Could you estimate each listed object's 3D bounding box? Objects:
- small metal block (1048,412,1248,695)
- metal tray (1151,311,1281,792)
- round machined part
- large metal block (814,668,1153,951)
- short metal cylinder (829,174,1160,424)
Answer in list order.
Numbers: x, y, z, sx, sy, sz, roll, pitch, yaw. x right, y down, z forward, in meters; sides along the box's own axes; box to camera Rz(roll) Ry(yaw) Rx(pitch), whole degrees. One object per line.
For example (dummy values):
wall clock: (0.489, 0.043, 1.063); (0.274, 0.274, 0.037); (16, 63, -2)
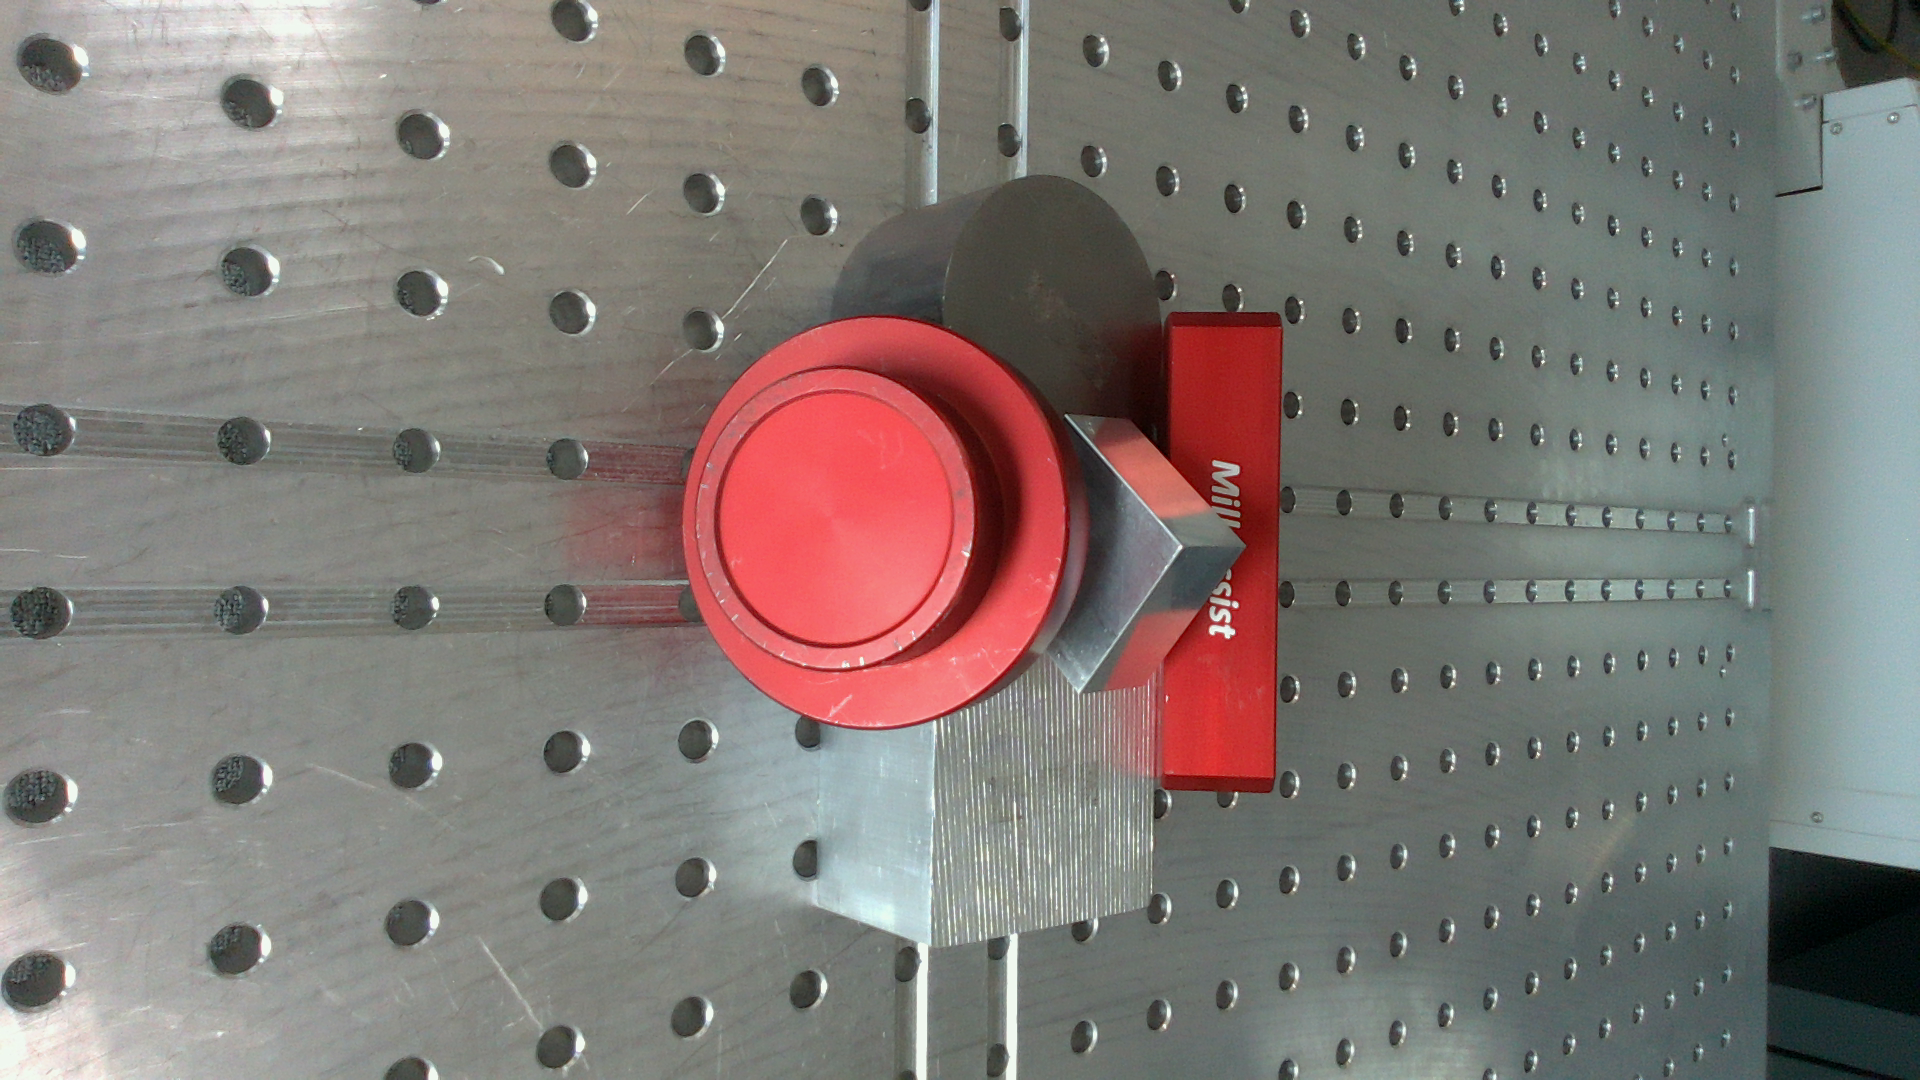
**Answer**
small metal block: (0.037, 0.003, 0.351); (0.025, 0.050, 0.050); (0, 132, -43)
metal tray: (0.073, 0.003, 0.412); (0.030, 0.090, 0.130); (1, 89, 3)
round machined part: (-0.022, -0.004, 0.321); (0.042, 0.098, 0.098); (4, 87, -73)
large metal block: (0.008, 0.062, 0.382); (0.080, 0.050, 0.080); (3, 88, -40)
short metal cylinder: (0.011, -0.056, 0.383); (0.080, 0.050, 0.080); (0, 90, -40)
